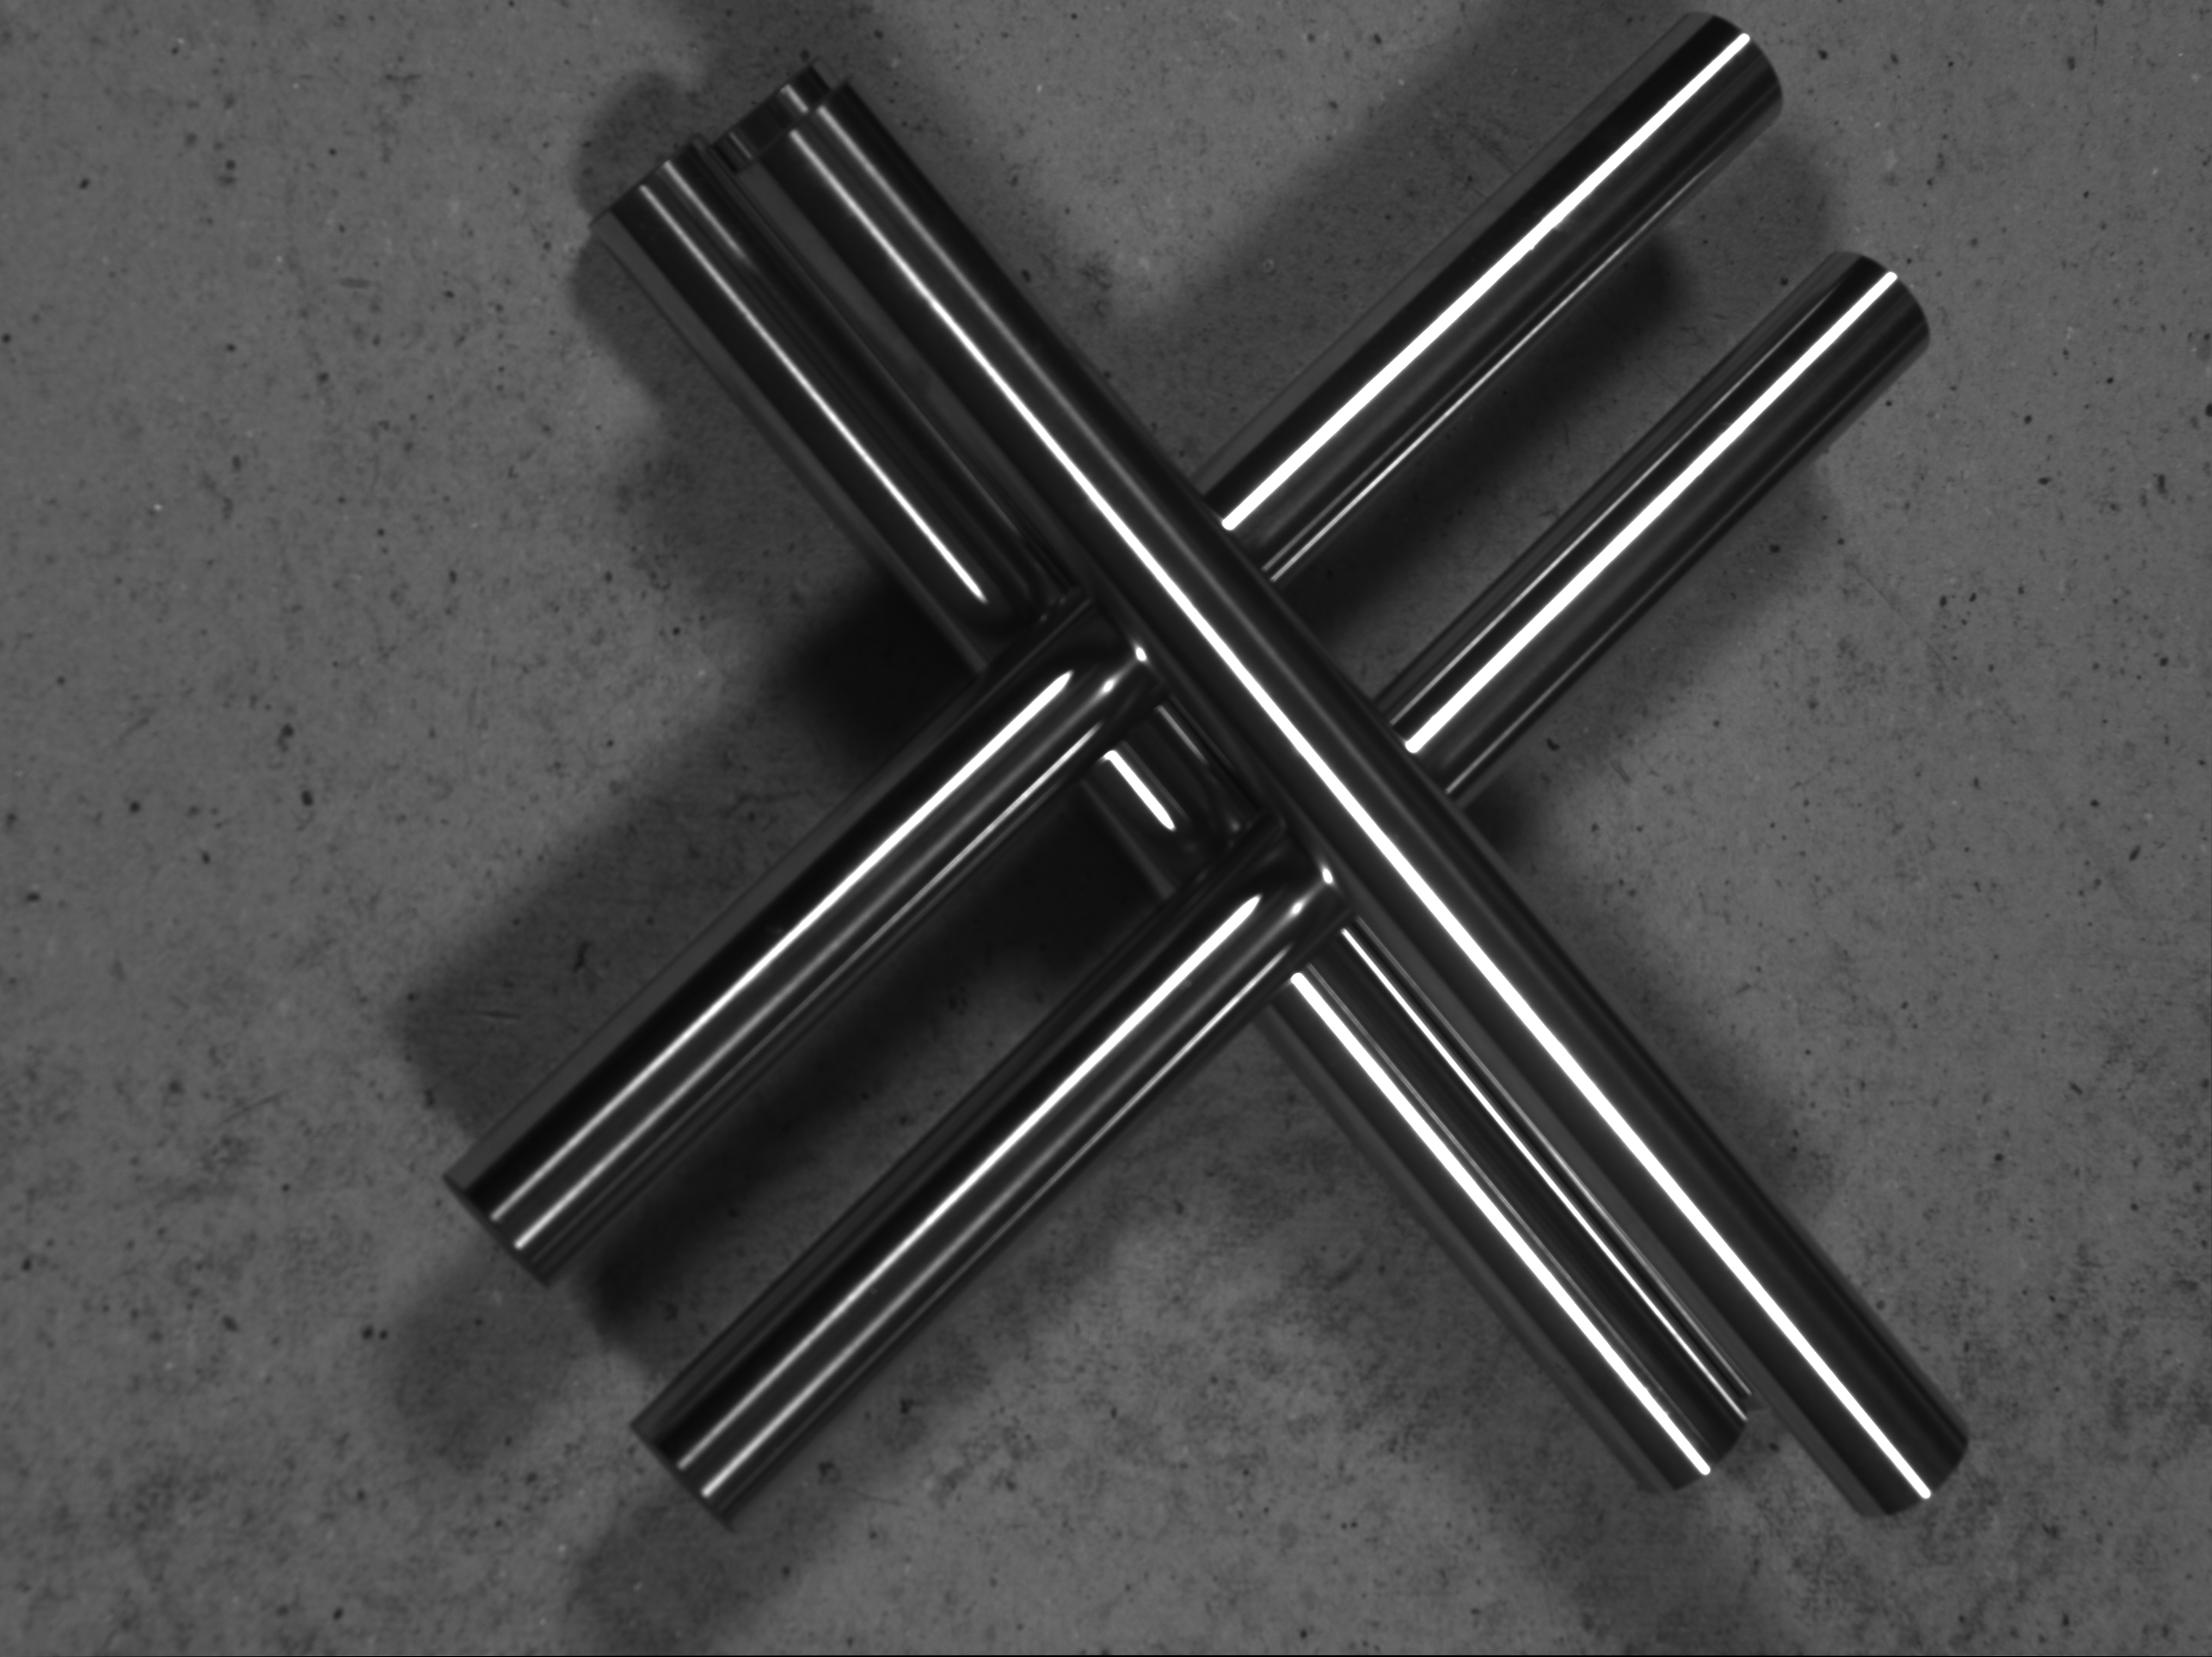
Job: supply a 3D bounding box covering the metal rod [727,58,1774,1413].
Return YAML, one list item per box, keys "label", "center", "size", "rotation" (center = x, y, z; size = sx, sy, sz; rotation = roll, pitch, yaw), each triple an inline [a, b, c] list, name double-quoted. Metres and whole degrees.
- label: "metal rod"
  center: [0.037, -0.011, 0.657]
  size: [0.025, 0.025, 0.300]
  rotation: [-43, 104, -15]

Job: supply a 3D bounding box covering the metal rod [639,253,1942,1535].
- label: "metal rod"
  center: [0.038, 0.005, 0.631]
  size: [0.300, 0.025, 0.025]
  rotation: [-44, 104, -15]

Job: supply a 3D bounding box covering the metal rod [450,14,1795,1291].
- label: "metal rod"
  center: [0.009, -0.036, 0.620]
  size: [0.300, 0.025, 0.025]
  rotation: [-44, 104, -15]

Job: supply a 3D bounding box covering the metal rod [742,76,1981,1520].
- label: "metal rod"
  center: [0.048, 0.001, 0.607]
  size: [0.025, 0.025, 0.300]
  rotation: [-44, 104, -15]

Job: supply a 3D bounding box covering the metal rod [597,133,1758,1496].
- label: "metal rod"
  center: [0.018, 0.003, 0.650]
  size: [0.025, 0.025, 0.300]
  rotation: [-43, 104, -15]
